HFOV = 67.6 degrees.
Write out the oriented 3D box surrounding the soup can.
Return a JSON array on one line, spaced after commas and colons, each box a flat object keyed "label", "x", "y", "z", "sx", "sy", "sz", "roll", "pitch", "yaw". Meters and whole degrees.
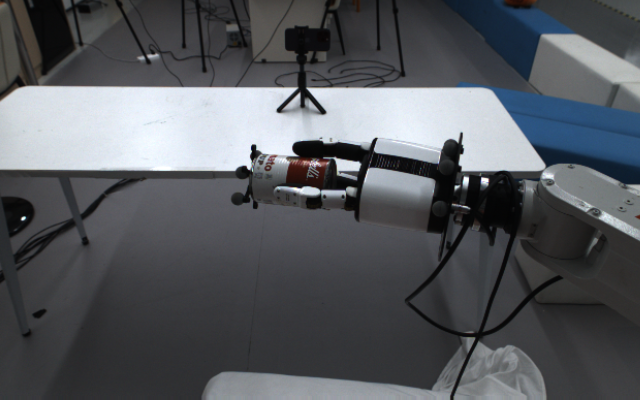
[{"label": "soup can", "x": -0.032, "y": -0.025, "z": 0.637, "sx": 0.101, "sy": 0.067, "sz": 0.067, "roll": 5, "pitch": 35, "yaw": 13}]
